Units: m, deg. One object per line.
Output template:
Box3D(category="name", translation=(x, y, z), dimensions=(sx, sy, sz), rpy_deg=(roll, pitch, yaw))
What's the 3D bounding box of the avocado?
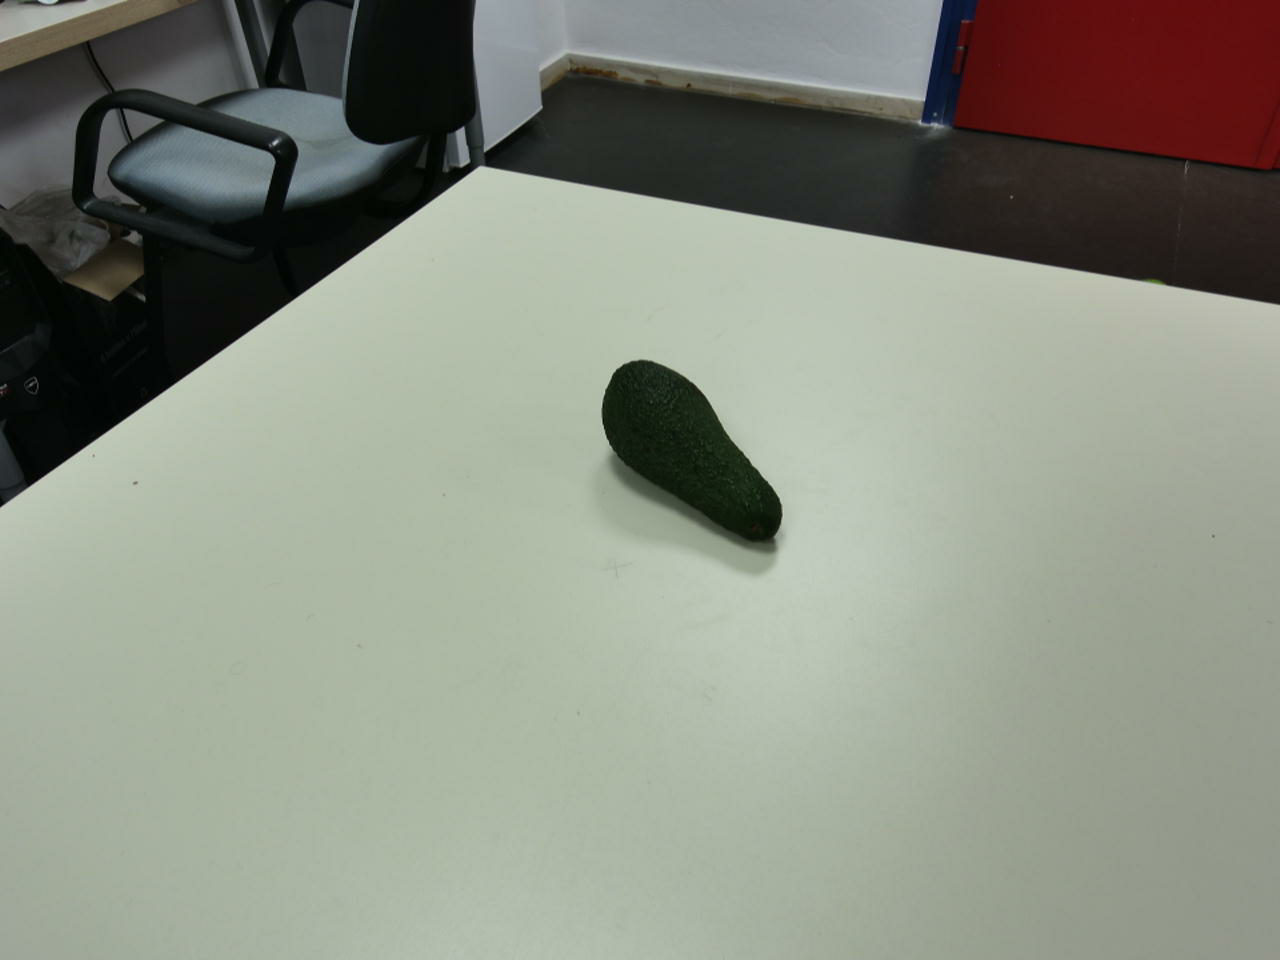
Box3D(category="avocado", translation=(0.033, -0.024, 0.585), dimensions=(0.141, 0.067, 0.063), rpy_deg=(28, 46, 31))
